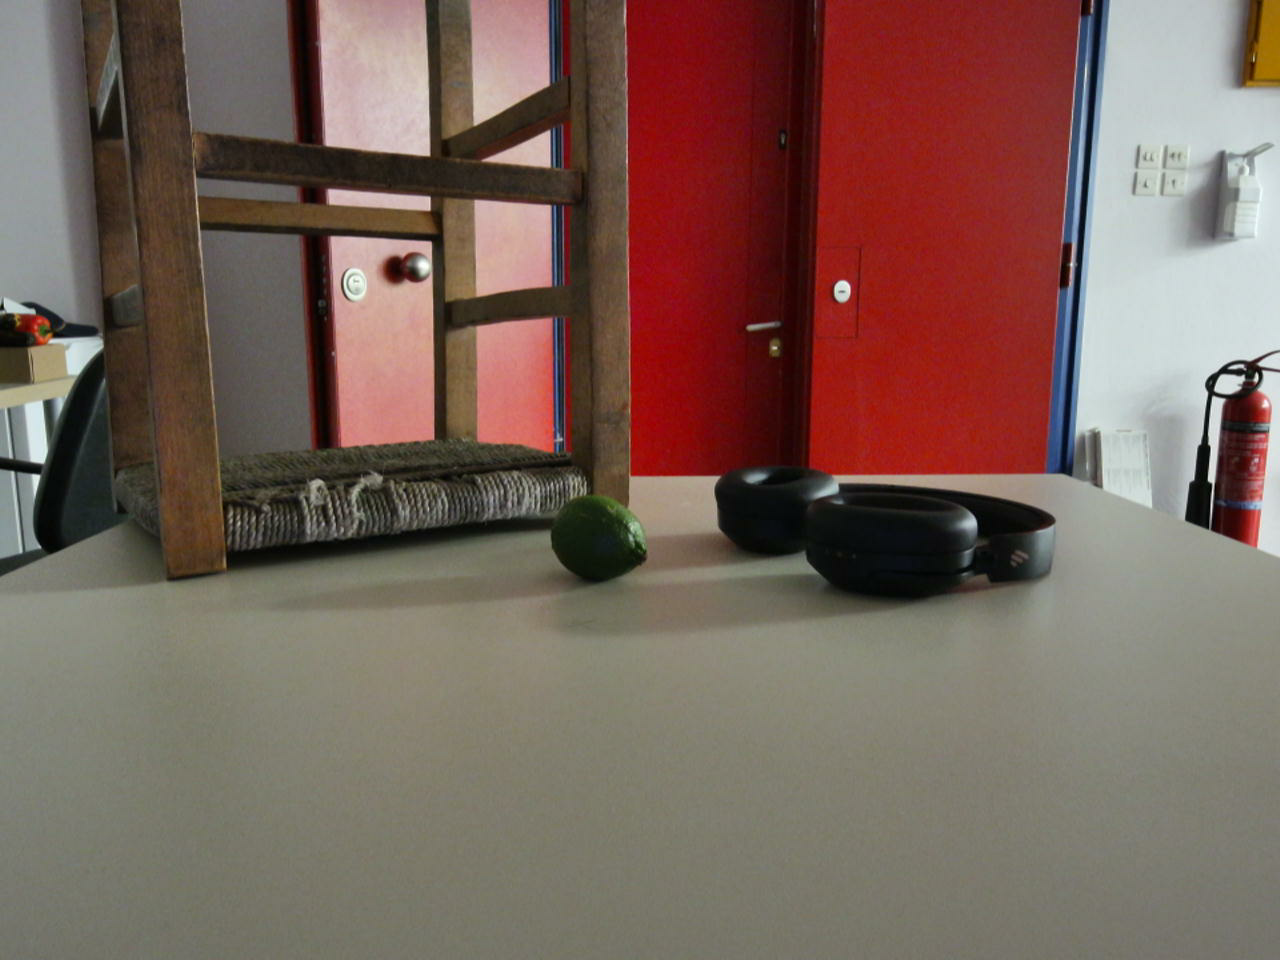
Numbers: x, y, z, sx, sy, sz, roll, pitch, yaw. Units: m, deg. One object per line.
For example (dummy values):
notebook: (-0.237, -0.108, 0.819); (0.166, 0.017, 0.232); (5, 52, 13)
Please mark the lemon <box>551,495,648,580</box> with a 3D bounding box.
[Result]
lemon: (-0.026, 0.034, 0.607); (0.057, 0.051, 0.054); (-1, 8, -4)
